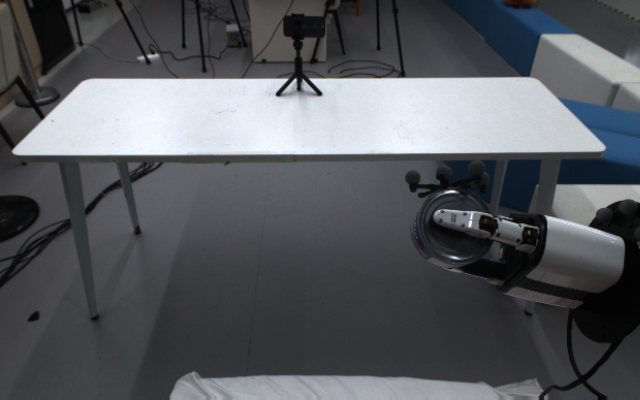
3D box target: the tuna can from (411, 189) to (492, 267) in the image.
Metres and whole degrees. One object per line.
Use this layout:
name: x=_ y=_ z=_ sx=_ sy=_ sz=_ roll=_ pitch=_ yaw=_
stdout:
tuna can: x=0.147 y=0.029 z=0.533 sx=0.085 sy=0.034 sz=0.085 roll=1 pitch=70 yaw=-3
